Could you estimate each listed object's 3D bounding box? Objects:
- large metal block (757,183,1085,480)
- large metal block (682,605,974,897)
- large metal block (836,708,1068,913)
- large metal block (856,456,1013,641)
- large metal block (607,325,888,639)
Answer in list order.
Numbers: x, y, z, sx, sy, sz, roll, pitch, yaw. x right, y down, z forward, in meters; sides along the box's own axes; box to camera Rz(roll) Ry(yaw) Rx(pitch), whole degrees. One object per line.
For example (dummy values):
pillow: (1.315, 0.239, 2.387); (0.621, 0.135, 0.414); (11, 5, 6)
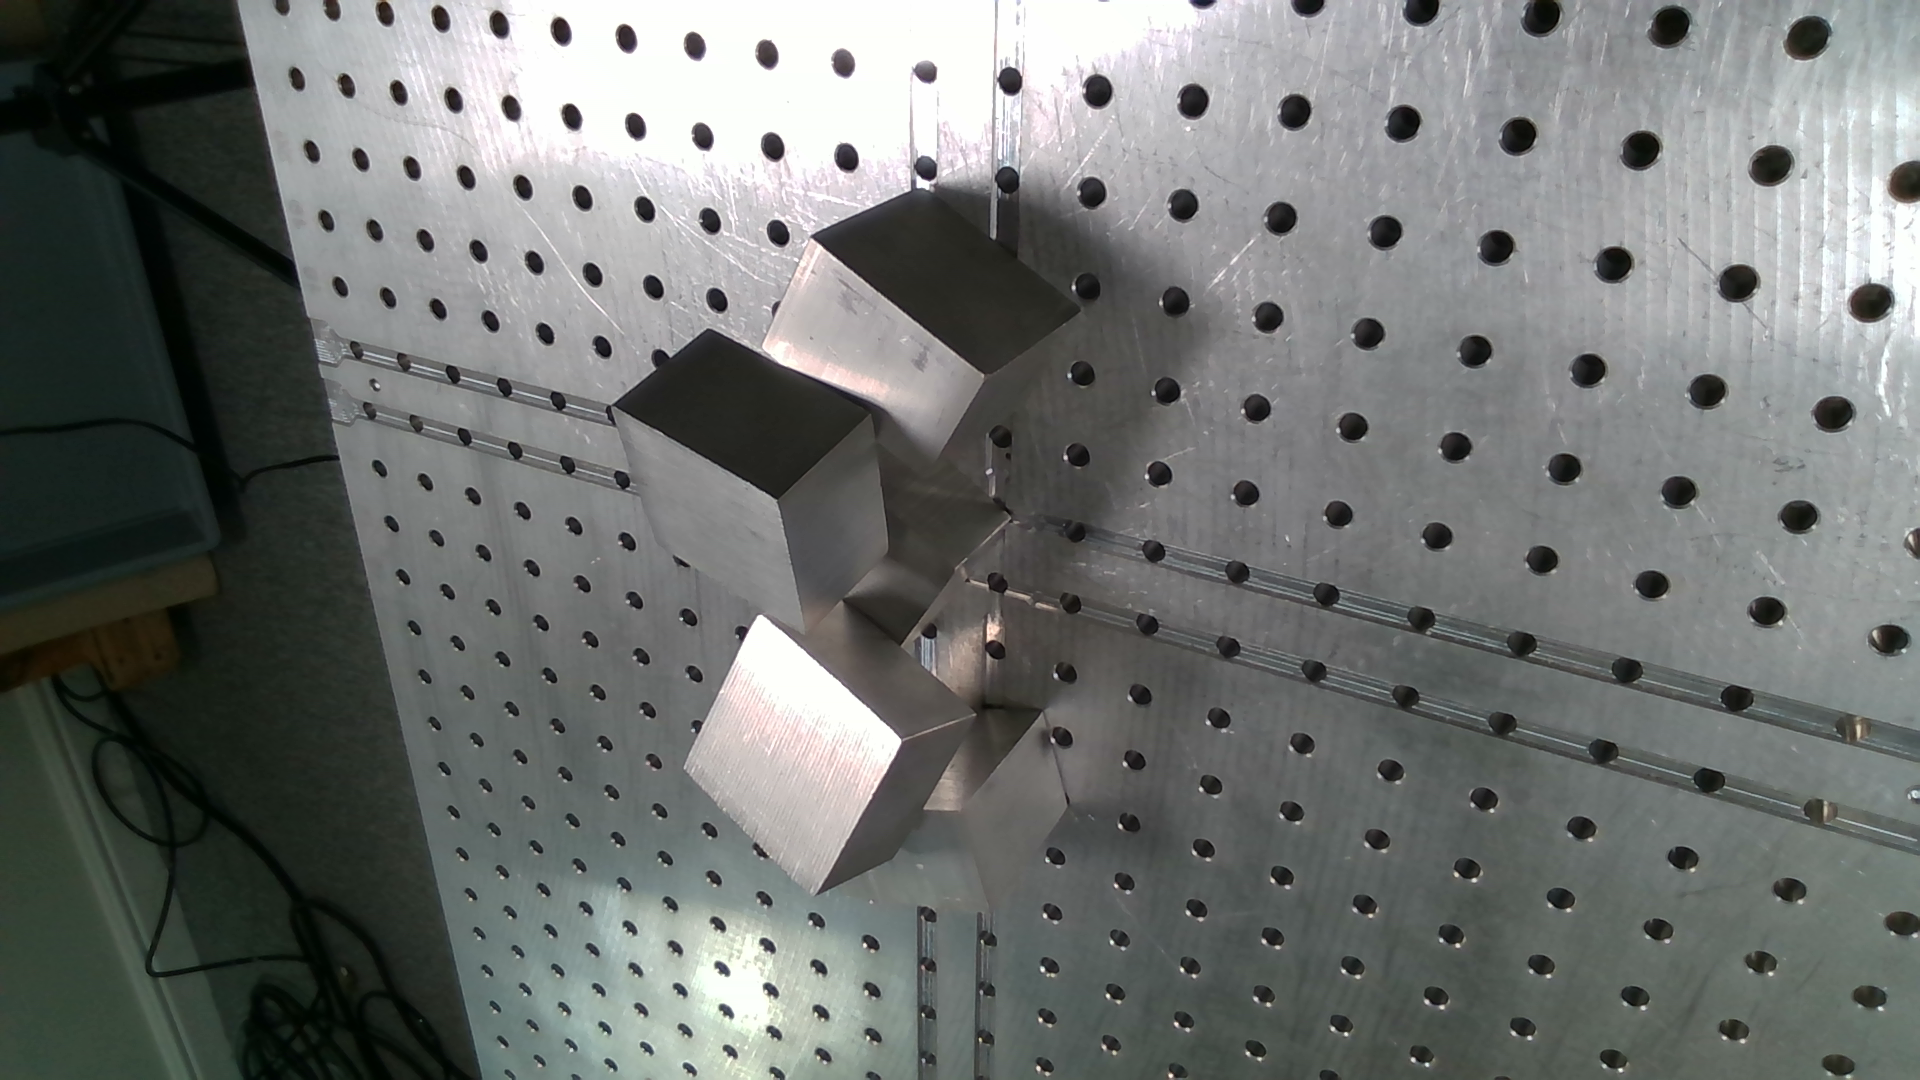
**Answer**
large metal block: (-0.013, -0.080, 0.511); (0.080, 0.080, 0.050); (39, 129, 7)
large metal block: (-0.054, 0.080, 0.554); (0.080, 0.050, 0.080); (39, 114, 24)
large metal block: (-0.009, 0.117, 0.617); (0.080, 0.080, 0.050); (-2, 114, 32)
large metal block: (-0.038, 0.000, 0.590); (0.080, 0.050, 0.080); (41, 129, 6)
large metal block: (-0.077, -0.021, 0.517); (0.080, 0.050, 0.080); (29, 148, 24)
